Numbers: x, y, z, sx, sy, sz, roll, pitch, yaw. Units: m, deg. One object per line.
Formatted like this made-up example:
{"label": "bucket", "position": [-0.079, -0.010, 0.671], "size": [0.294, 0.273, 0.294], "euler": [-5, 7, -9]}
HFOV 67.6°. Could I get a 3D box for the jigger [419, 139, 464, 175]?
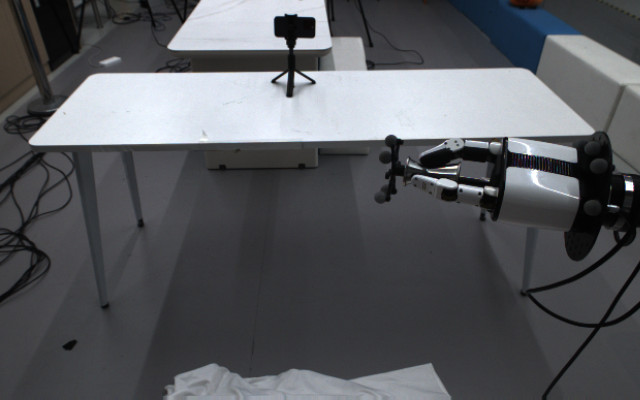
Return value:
{"label": "jigger", "position": [0.153, -0.036, 0.633], "size": [0.071, 0.043, 0.043], "euler": [9, 35, 17]}
